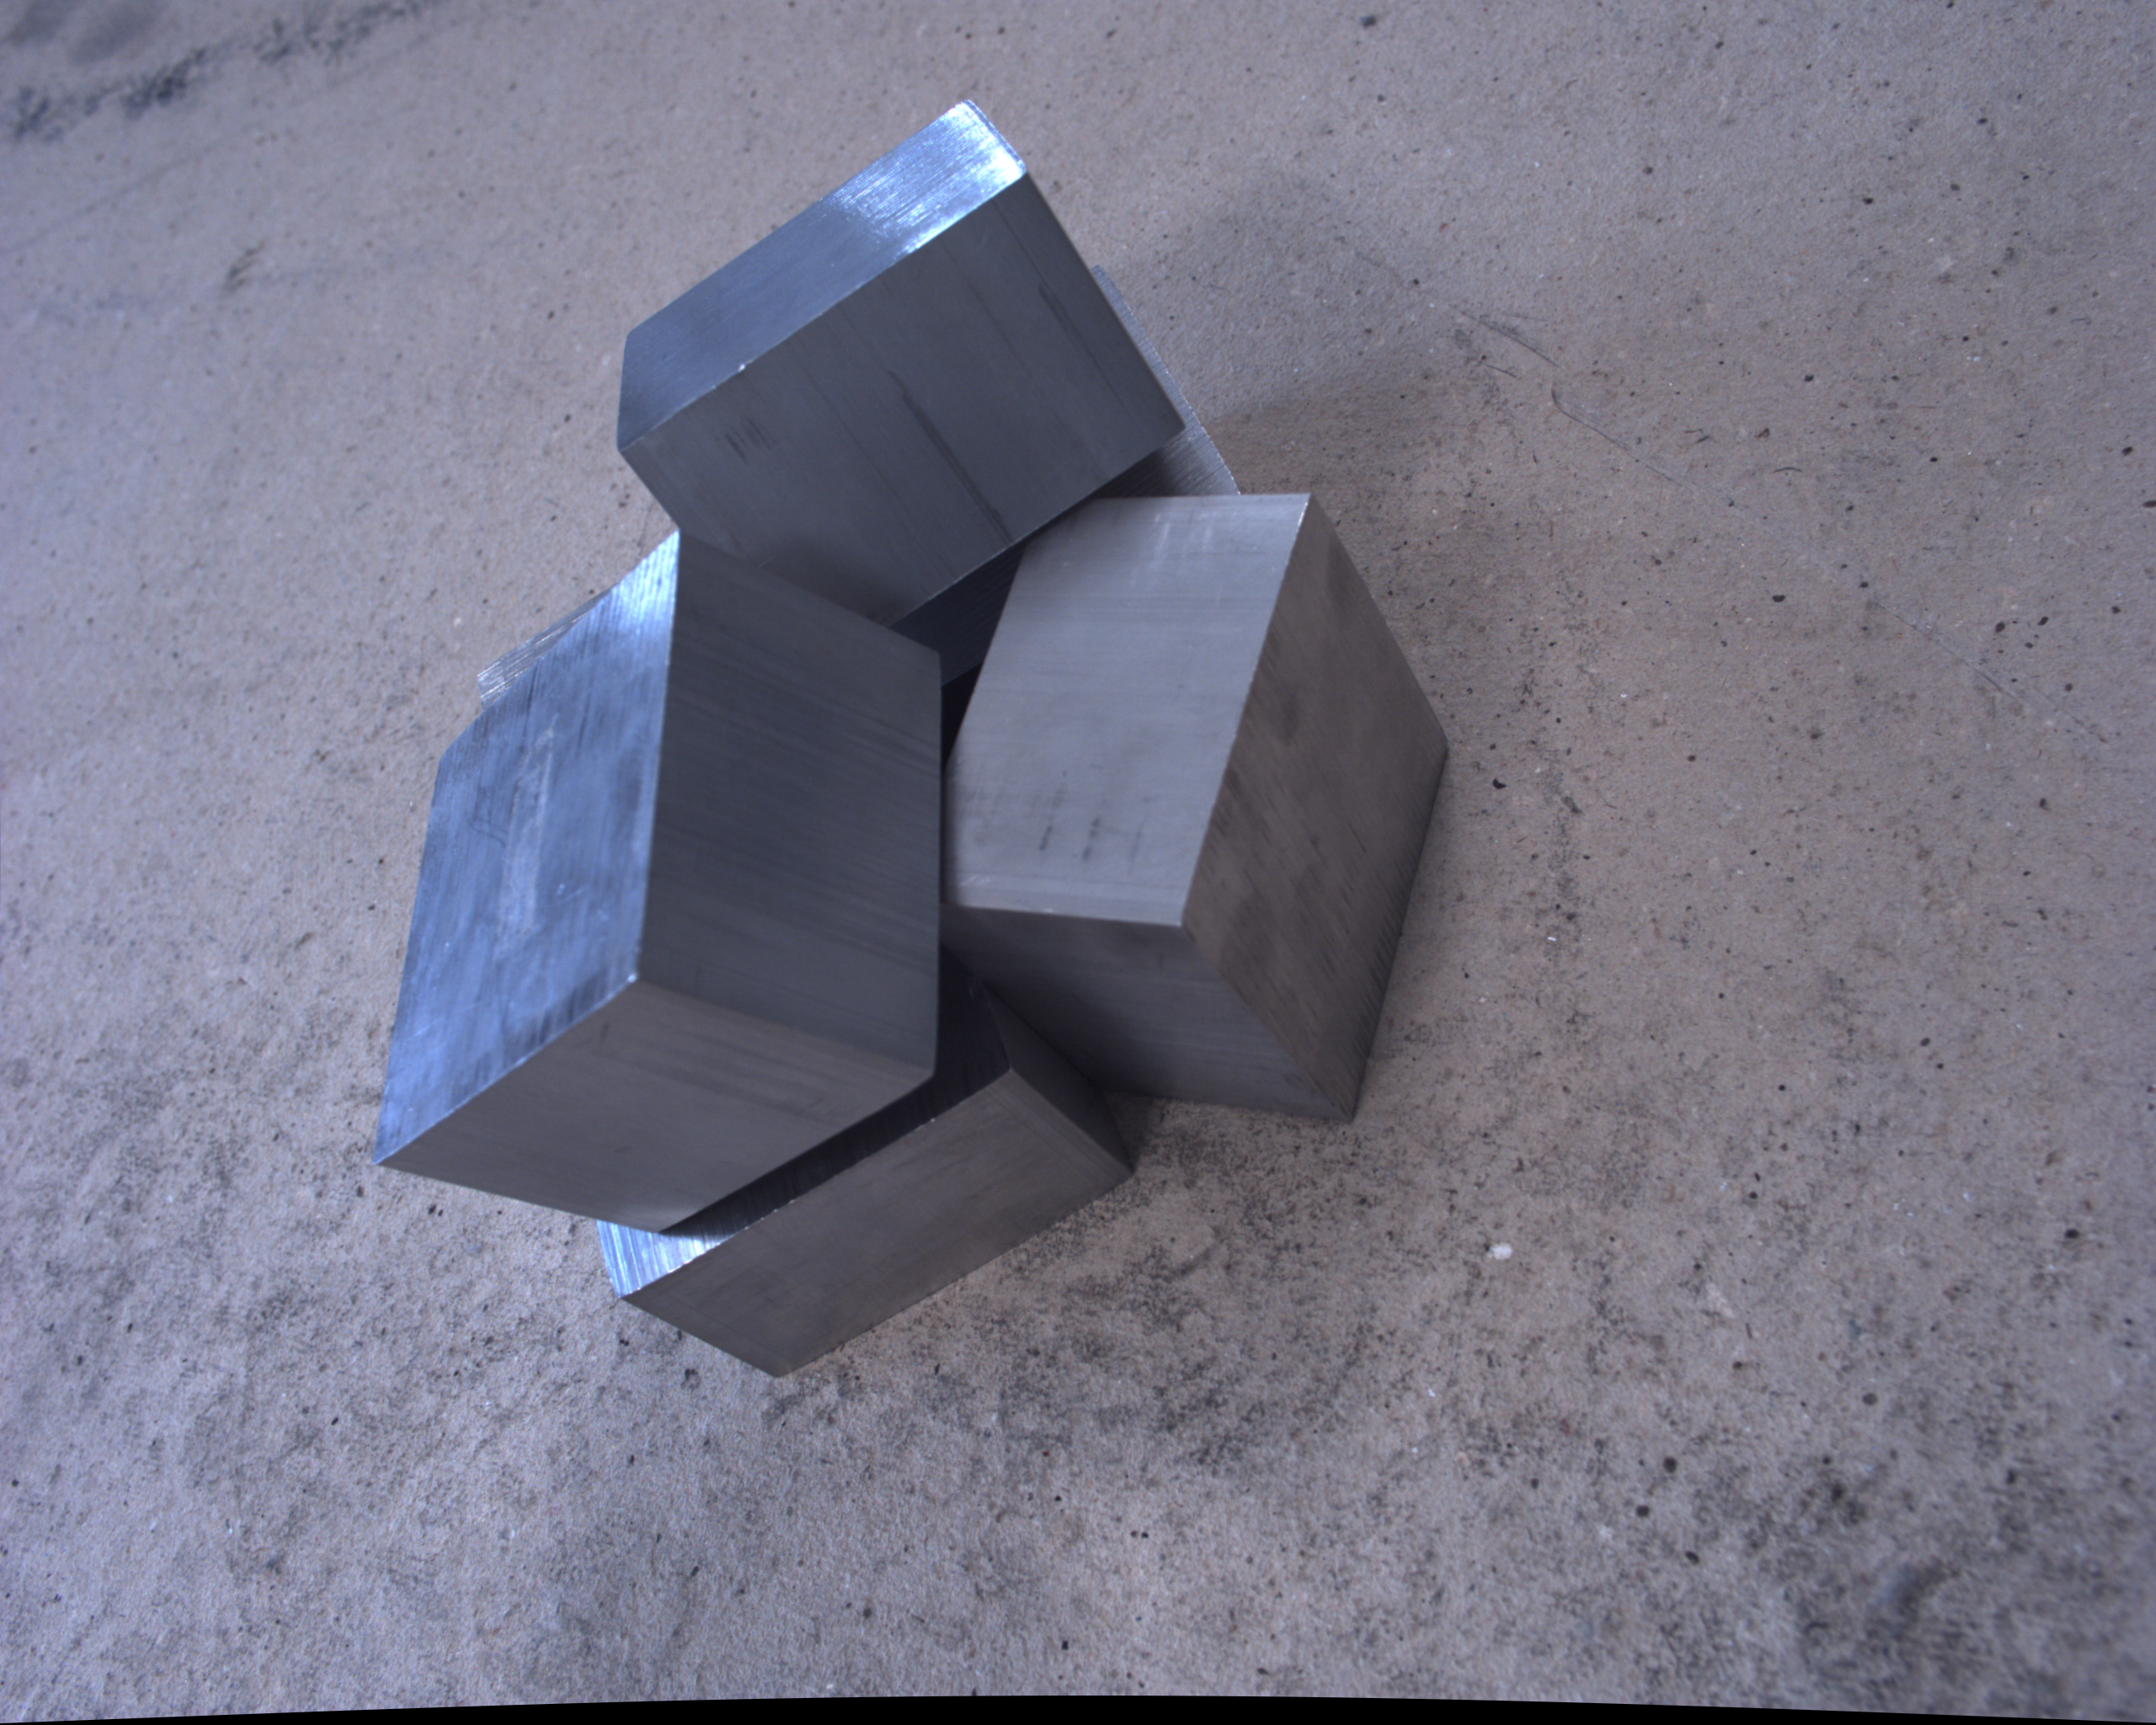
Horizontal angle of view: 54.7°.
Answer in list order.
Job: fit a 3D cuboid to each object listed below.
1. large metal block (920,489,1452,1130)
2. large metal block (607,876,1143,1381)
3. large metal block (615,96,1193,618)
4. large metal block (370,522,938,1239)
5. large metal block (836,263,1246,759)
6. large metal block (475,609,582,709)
[{"bbox_3d":[0.022,-0.008,0.364,0.050,0.080,0.080,4,64,30],"label":"large metal block"},{"bbox_3d":[-0.046,0.037,0.392,0.080,0.050,0.080,-31,52,8],"label":"large metal block"},{"bbox_3d":[-0.034,-0.088,0.377,0.080,0.050,0.080,-32,29,7],"label":"large metal block"},{"bbox_3d":[-0.067,0.006,0.338,0.080,0.050,0.080,-32,47,39],"label":"large metal block"},{"bbox_3d":[-0.006,-0.063,0.429,0.080,0.050,0.080,-30,52,7],"label":"large metal block"},{"bbox_3d":[-0.073,-0.020,0.441,0.080,0.050,0.080,-31,52,8],"label":"large metal block"}]
